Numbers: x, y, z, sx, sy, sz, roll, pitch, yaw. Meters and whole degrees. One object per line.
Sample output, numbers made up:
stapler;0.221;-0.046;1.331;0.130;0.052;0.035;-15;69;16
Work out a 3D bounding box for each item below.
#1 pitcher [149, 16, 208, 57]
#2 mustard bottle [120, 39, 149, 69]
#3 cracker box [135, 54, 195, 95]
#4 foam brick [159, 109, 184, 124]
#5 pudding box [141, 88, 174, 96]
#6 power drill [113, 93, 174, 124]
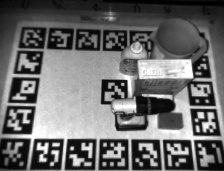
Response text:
pitcher;0.212;-0.124;0.756;0.188;0.243;0.133;6;72;3
mustard bottle;0.079;-0.121;0.762;0.096;0.192;0.058;13;73;4
cracker box;0.164;-0.026;0.728;0.164;0.214;0.072;-2;70;1
foam brick;0.212;0.110;0.777;0.078;0.051;0.052;3;74;-1
pudding box;0.155;0.038;0.764;0.114;0.090;0.038;1;70;2
power drill;0.093;0.073;0.677;0.185;0.187;0.057;-1;68;-2
